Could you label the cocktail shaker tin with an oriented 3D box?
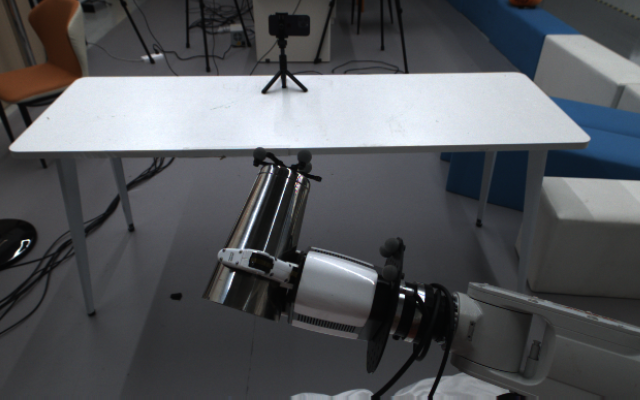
[{"bbox_3d":[-0.067,0.049,0.576,0.093,0.093,0.170,13,74,15],"label":"cocktail shaker tin"}]
